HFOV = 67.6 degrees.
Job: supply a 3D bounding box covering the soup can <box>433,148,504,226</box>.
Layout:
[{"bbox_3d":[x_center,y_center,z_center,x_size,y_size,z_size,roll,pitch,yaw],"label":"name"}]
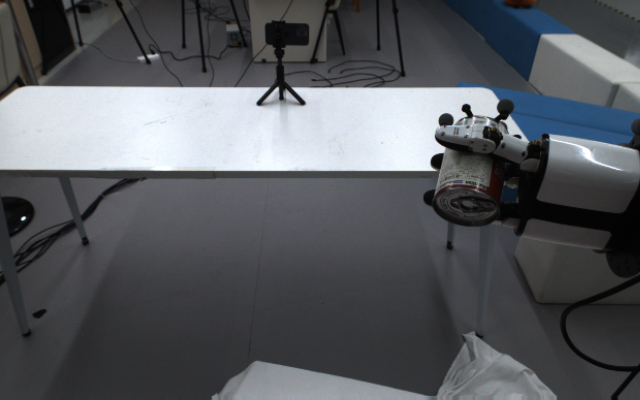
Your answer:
[{"bbox_3d":[0.164,-0.036,0.523,0.067,0.067,0.101,12,59,14],"label":"soup can"}]
